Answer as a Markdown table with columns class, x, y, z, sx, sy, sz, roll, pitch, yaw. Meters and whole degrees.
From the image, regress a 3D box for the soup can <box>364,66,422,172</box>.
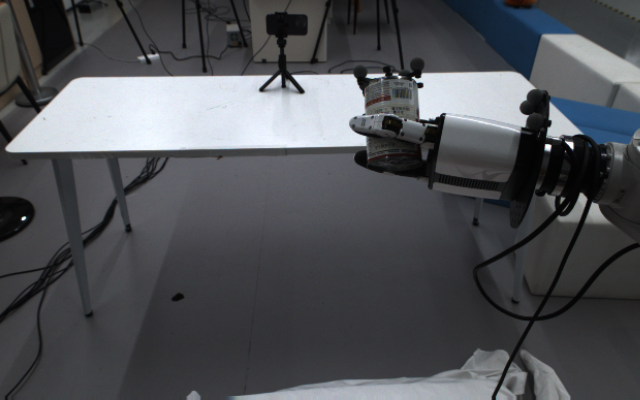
| class | x | y | z | sx | sy | sz | roll | pitch | yaw |
| --- | --- | --- | --- | --- | --- | --- | --- | --- | --- |
| soup can | 0.090 | -0.091 | 0.591 | 0.067 | 0.101 | 0.067 | -1 | -9 | 0 |
